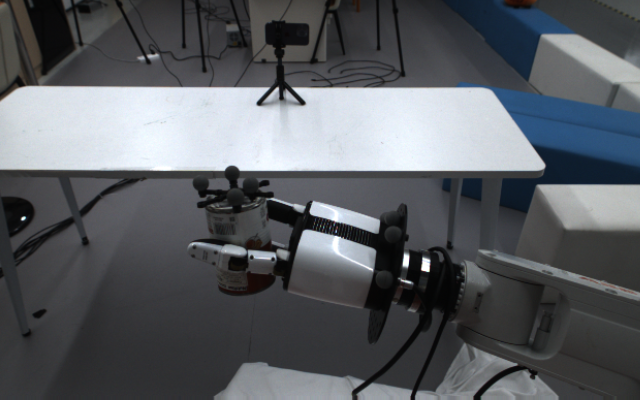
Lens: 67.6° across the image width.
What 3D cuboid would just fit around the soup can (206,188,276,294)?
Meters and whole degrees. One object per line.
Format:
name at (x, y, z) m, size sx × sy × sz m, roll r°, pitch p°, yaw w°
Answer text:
soup can at (-0.085, 0.046, 0.537) m, size 0.067 × 0.101 × 0.067 m, roll -4°, pitch 21°, yaw 1°
